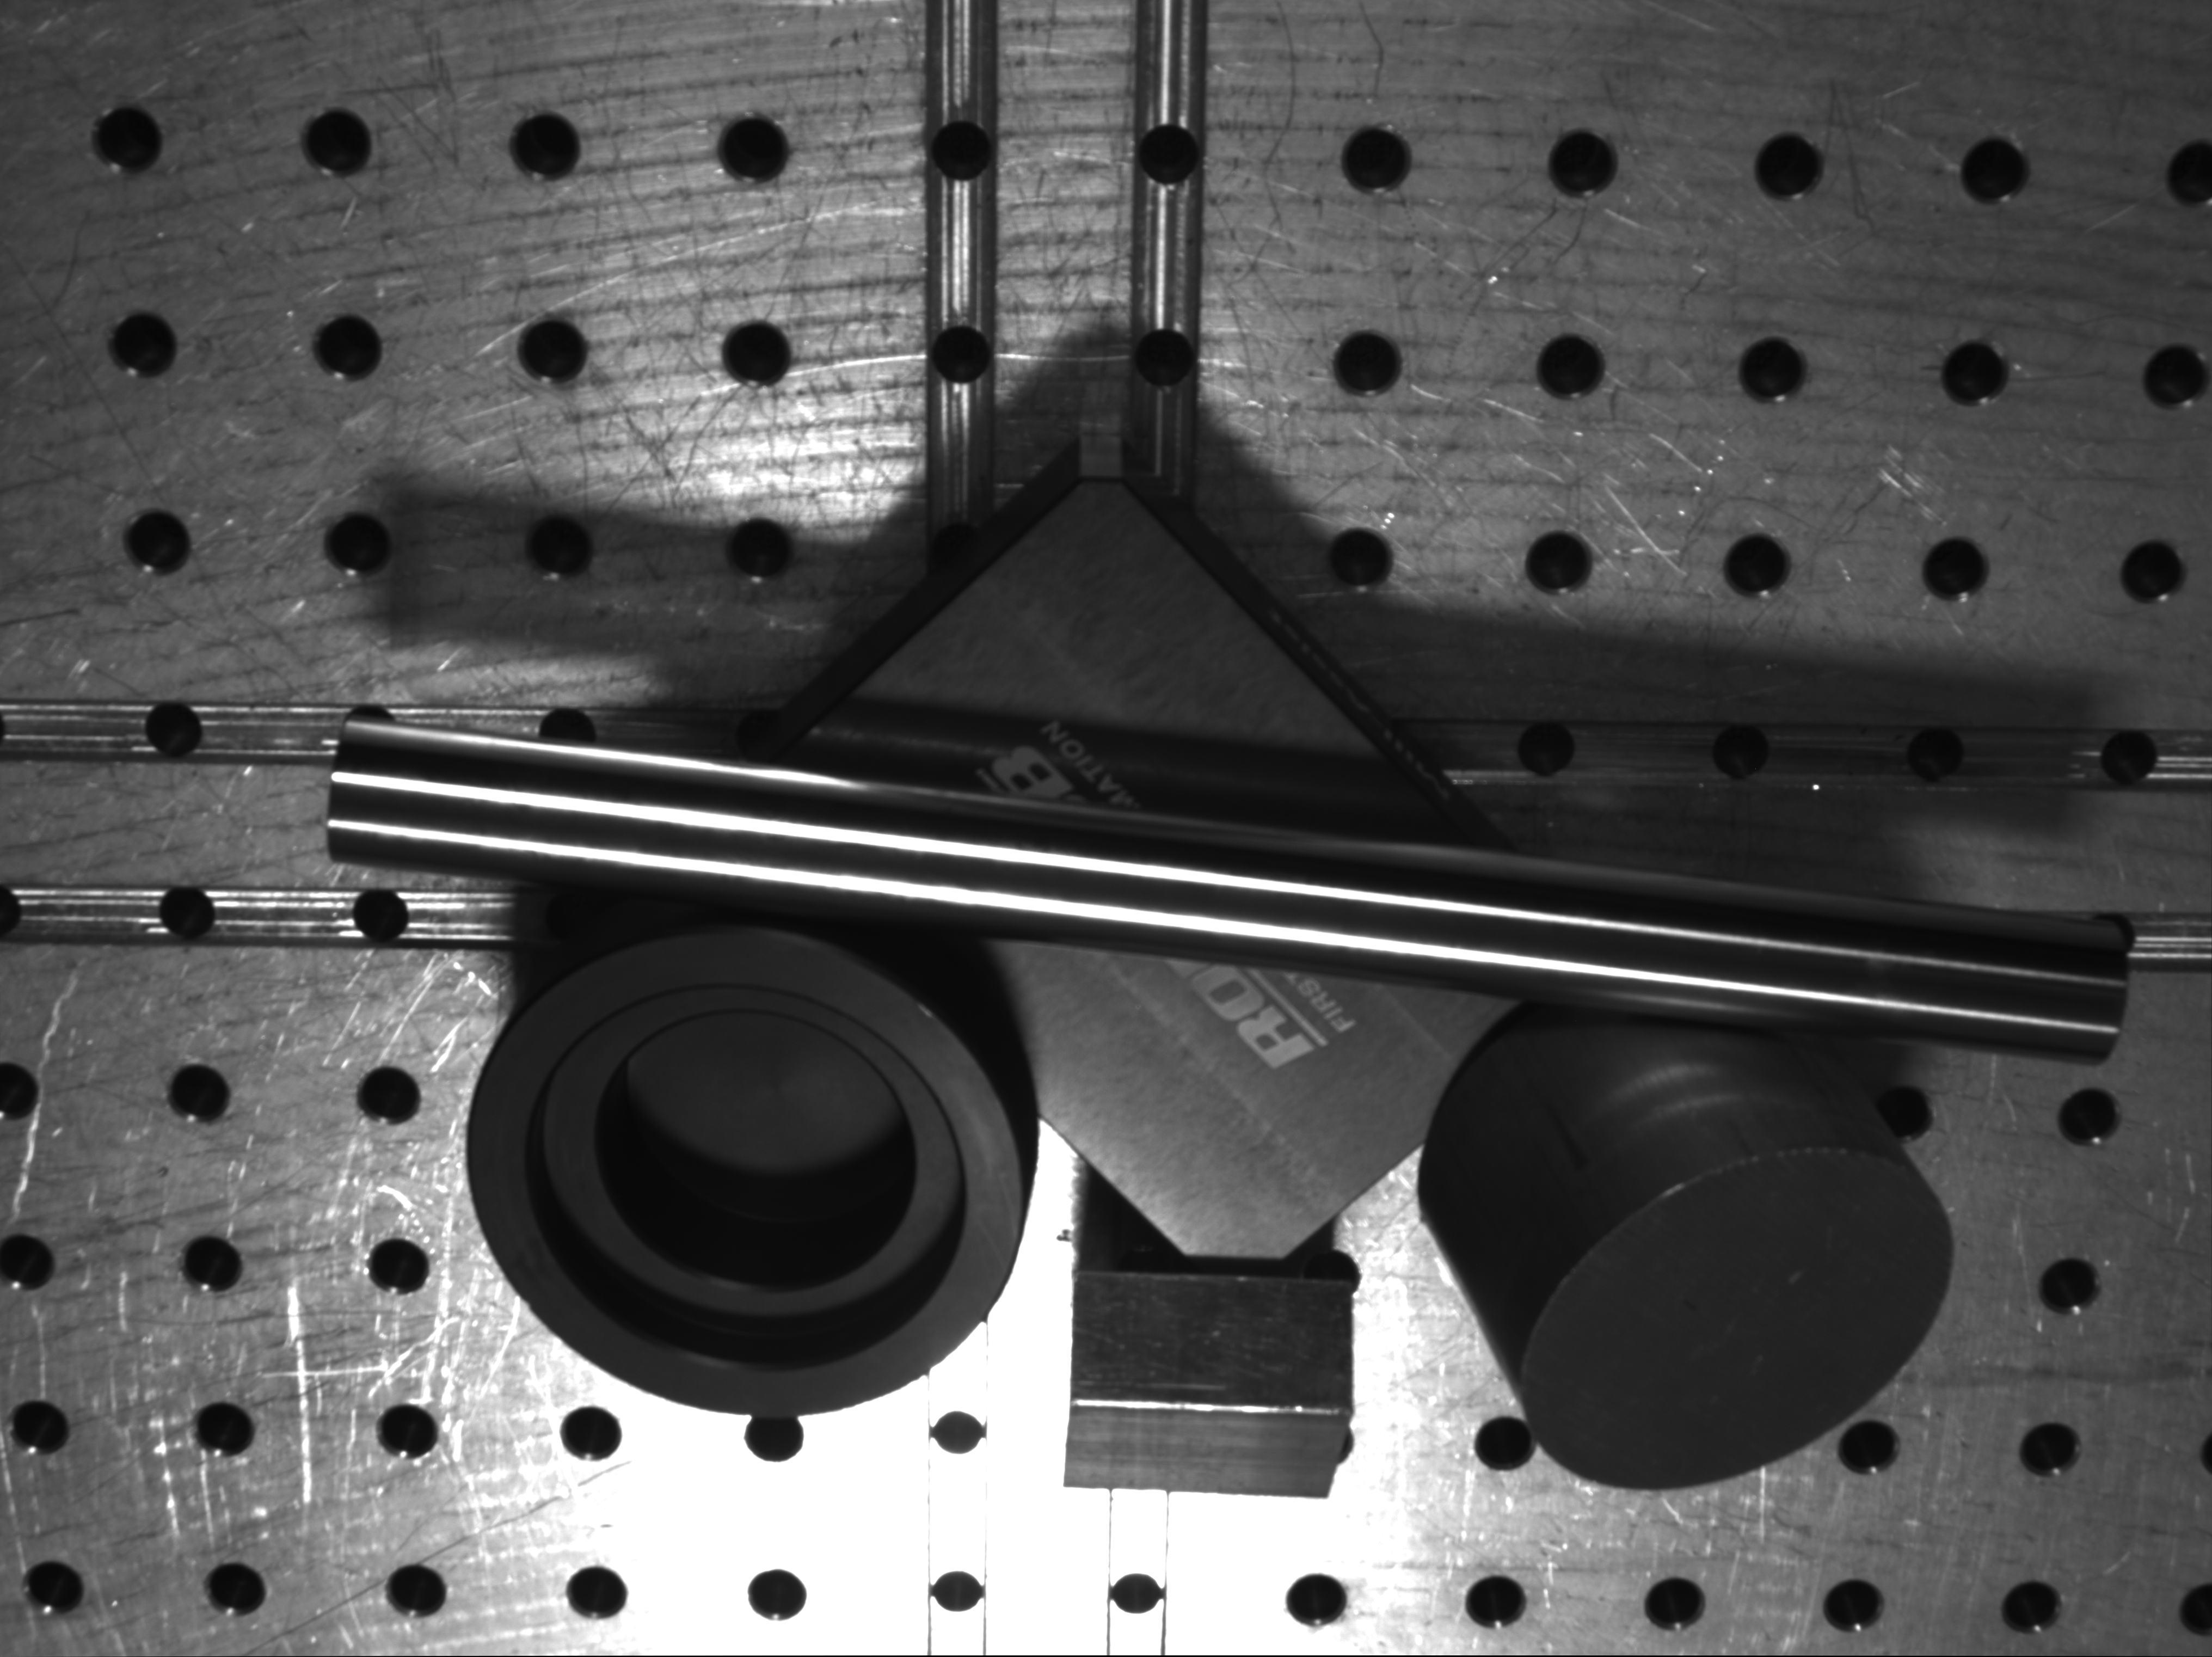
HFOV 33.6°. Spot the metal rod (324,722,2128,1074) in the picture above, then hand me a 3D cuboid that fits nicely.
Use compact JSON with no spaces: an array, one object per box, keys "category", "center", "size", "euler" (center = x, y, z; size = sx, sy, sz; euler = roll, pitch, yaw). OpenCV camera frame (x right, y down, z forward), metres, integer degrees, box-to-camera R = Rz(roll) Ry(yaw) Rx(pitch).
[{"category":"metal rod","center":[0.021,0.012,0.617],"size":[0.300,0.025,0.025],"euler":[7,110,-3]}]

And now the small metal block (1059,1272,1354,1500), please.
[{"category":"small metal block","center":[0.018,0.102,0.669],"size":[0.050,0.025,0.050],"euler":[2,153,-2]}]

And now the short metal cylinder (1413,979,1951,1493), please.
[{"category":"short metal cylinder","center":[0.100,0.070,0.643],"size":[0.080,0.050,0.080],"euler":[-11,130,-13]}]

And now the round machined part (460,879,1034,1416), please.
[{"category":"round machined part","center":[-0.061,0.052,0.649],"size":[0.098,0.042,0.098],"euler":[2,116,4]}]

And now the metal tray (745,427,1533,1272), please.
[{"category":"metal tray","center":[0.011,0.005,0.646],"size":[0.090,0.030,0.130],"euler":[-42,105,13]}]
